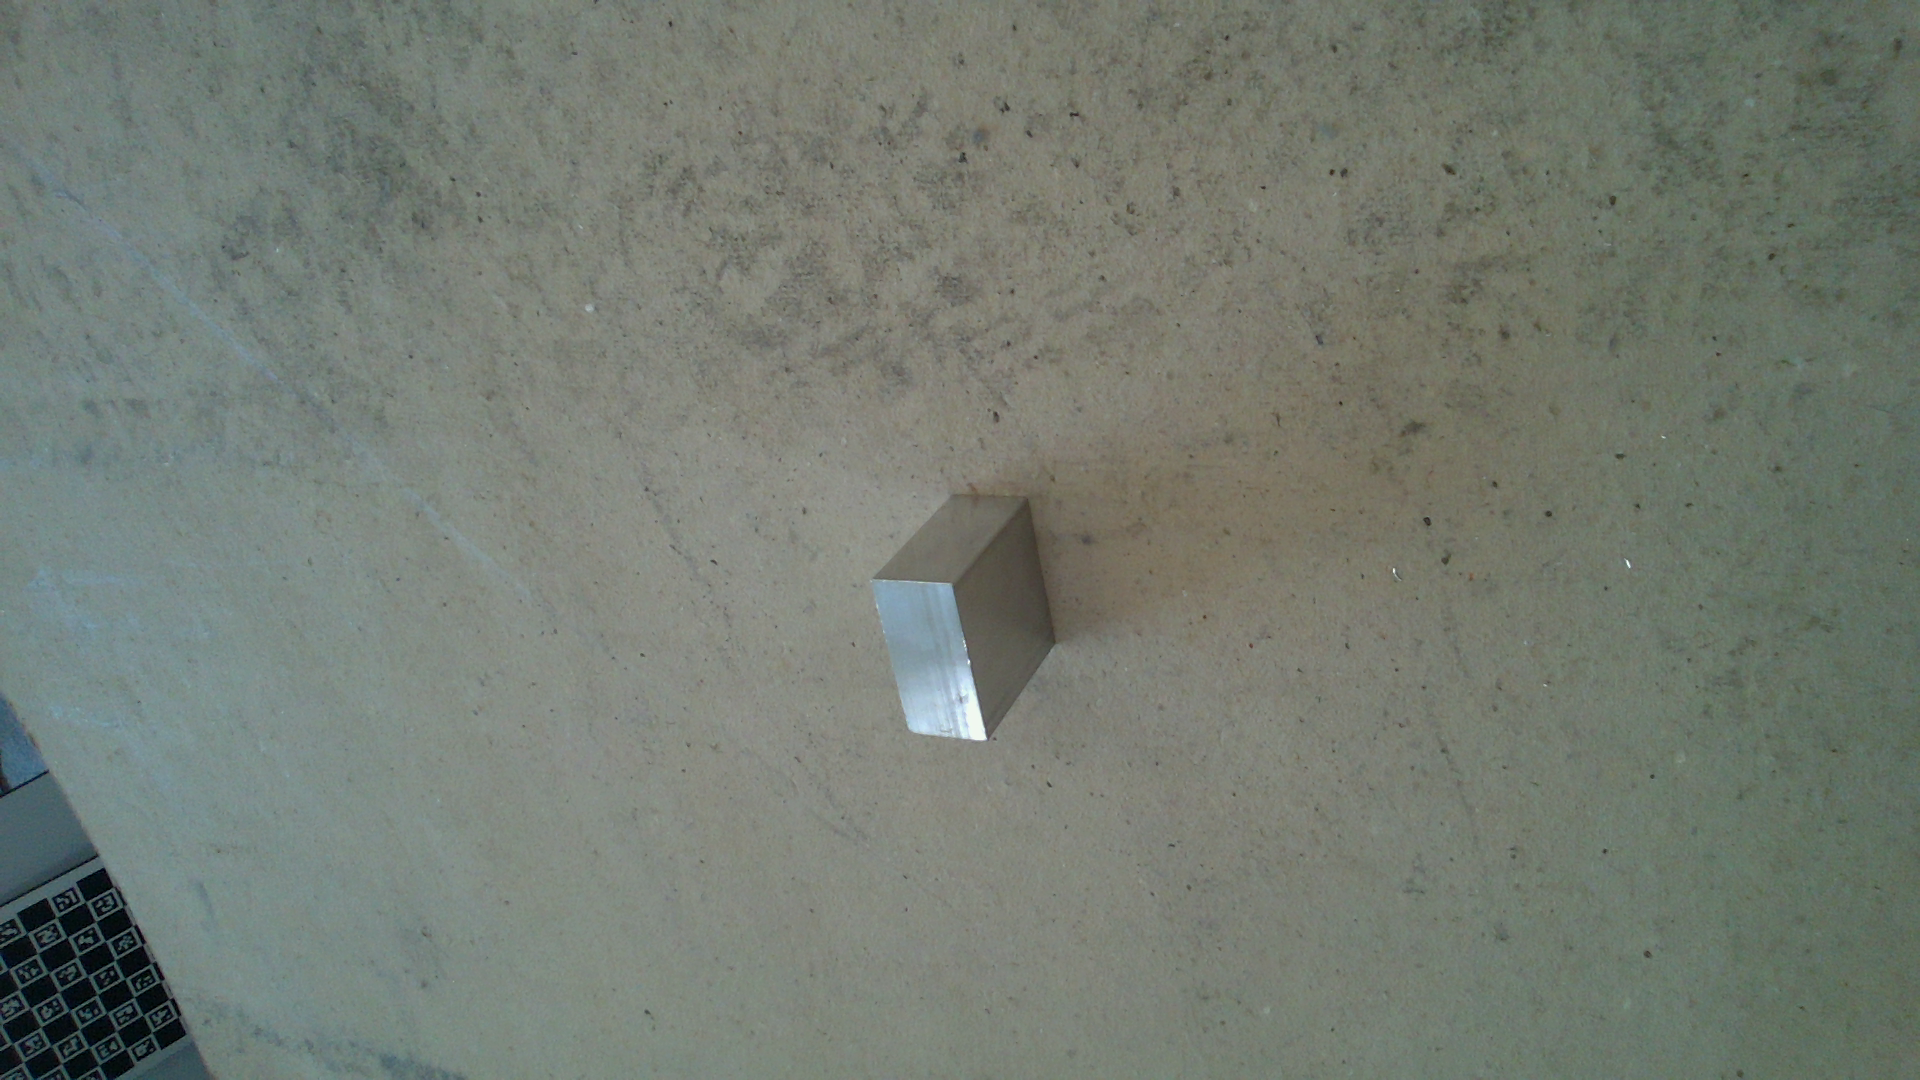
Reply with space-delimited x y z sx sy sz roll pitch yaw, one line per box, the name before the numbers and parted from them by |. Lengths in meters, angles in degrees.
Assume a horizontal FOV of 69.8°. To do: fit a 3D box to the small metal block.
small metal block | 0.002 0.021 0.389 0.025 0.050 0.050 2 119 27
